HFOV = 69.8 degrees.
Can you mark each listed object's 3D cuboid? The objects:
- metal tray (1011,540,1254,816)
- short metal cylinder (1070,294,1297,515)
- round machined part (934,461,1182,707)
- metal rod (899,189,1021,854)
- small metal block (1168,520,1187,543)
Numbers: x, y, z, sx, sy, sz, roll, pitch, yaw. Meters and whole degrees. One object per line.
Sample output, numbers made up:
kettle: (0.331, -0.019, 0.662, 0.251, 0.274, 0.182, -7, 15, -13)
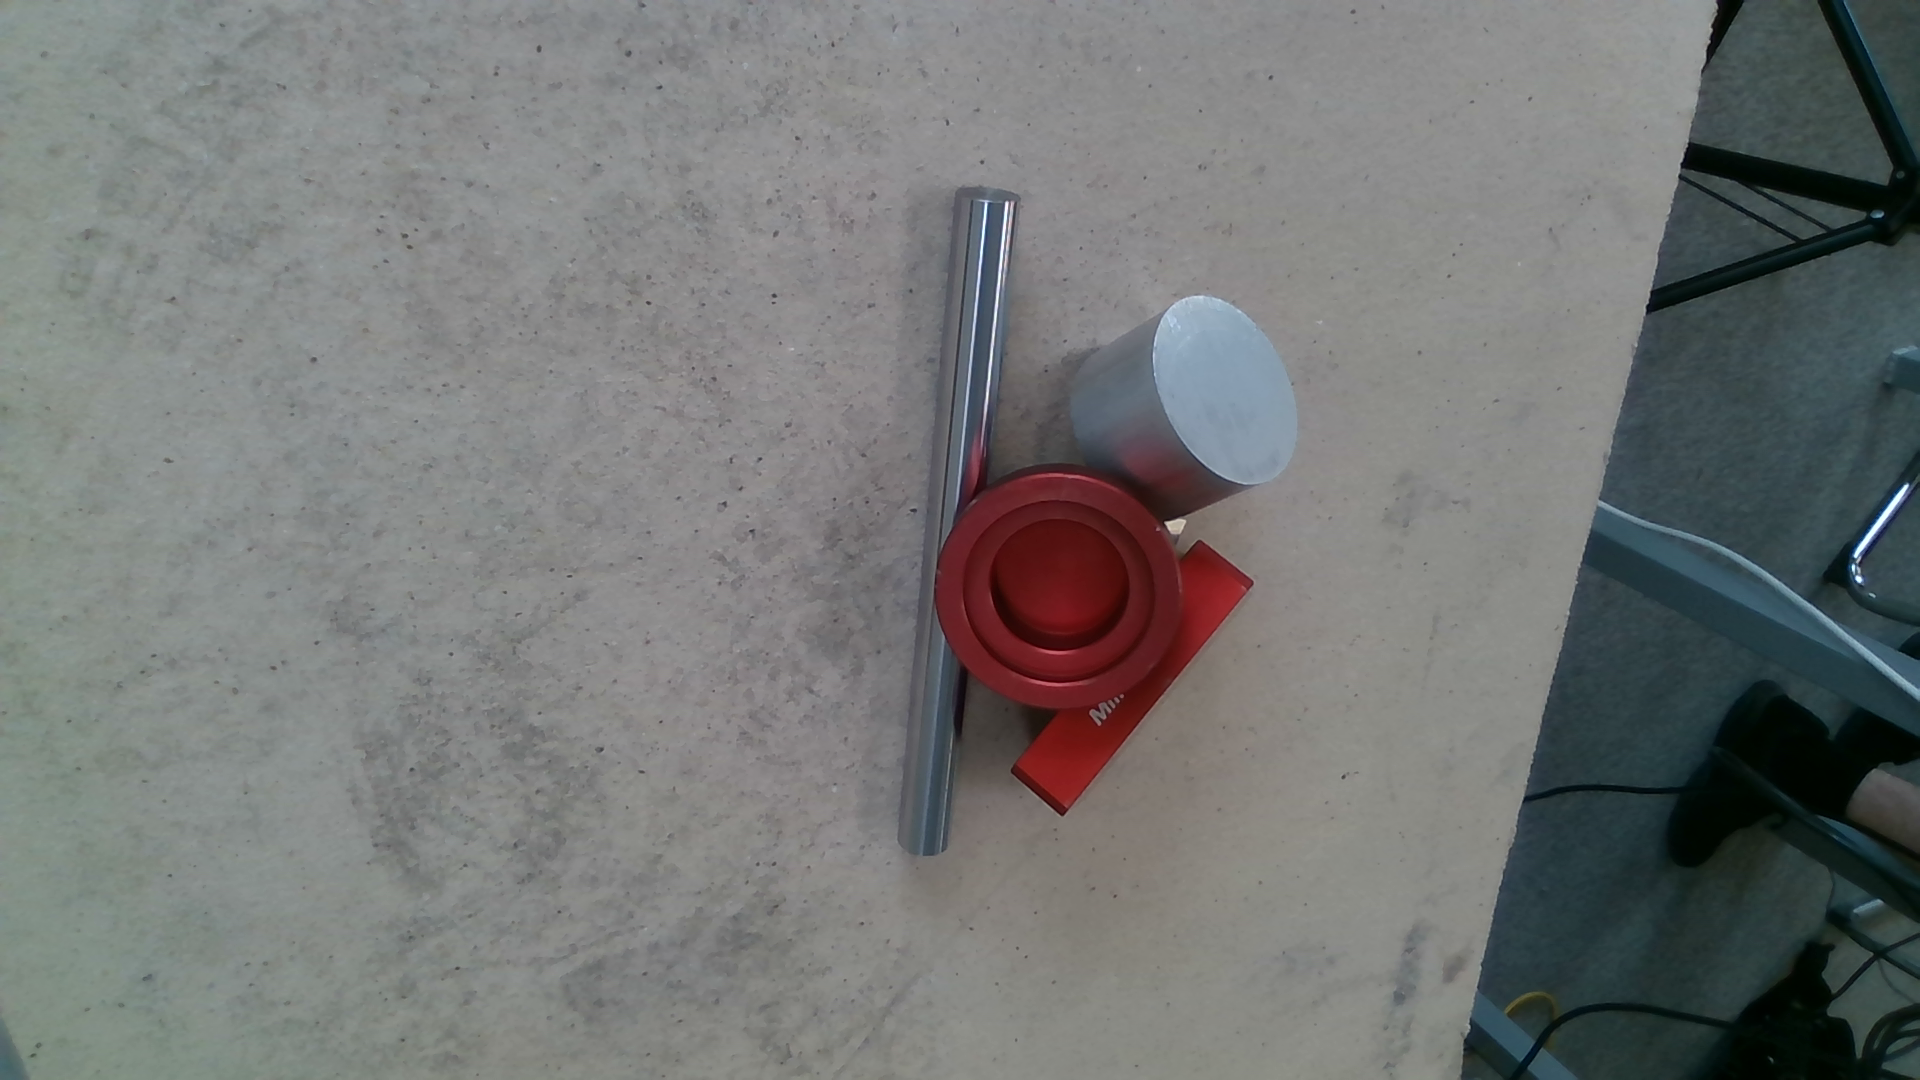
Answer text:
metal tray: (0.081, 0.063, 0.629, 0.130, 0.030, 0.090, -51, 168, 2)
short metal cylinder: (0.092, -0.054, 0.567, 0.080, 0.050, 0.080, 14, 66, -33)
round machined part: (0.041, 0.015, 0.564, 0.098, 0.042, 0.098, 2, 106, 6)
metal rod: (-0.003, 0.005, 0.582, 0.025, 0.025, 0.301, -9, 119, -28)
small metal block: (0.066, 0.002, 0.605, 0.025, 0.050, 0.050, 10, 109, -35)
